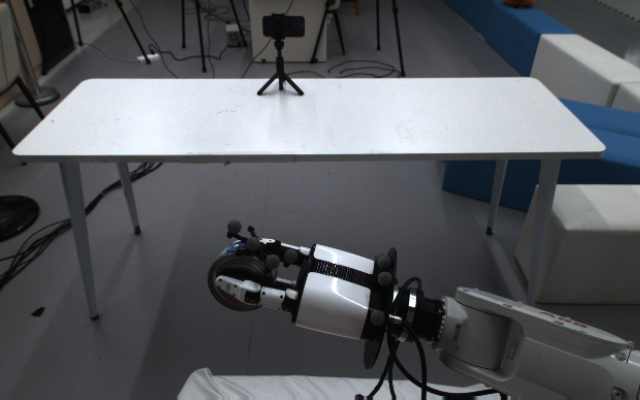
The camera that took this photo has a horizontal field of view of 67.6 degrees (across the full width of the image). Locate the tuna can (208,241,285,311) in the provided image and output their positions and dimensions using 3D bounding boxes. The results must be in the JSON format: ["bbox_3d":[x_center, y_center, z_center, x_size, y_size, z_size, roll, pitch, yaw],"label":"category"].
[{"bbox_3d":[-0.098,0.100,0.628,0.085,0.085,0.034,4,20,3],"label":"tuna can"}]
